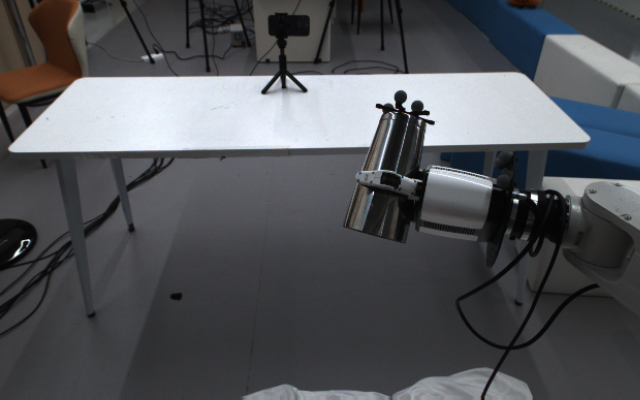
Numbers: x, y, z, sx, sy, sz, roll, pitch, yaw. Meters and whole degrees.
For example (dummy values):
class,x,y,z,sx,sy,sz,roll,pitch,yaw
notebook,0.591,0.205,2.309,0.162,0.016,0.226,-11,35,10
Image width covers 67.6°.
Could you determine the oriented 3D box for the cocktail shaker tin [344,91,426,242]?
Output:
class,x,y,z,sx,sy,sz,roll,pitch,yaw
cocktail shaker tin,0.097,-0.033,0.683,0.093,0.170,0.093,16,-4,1
